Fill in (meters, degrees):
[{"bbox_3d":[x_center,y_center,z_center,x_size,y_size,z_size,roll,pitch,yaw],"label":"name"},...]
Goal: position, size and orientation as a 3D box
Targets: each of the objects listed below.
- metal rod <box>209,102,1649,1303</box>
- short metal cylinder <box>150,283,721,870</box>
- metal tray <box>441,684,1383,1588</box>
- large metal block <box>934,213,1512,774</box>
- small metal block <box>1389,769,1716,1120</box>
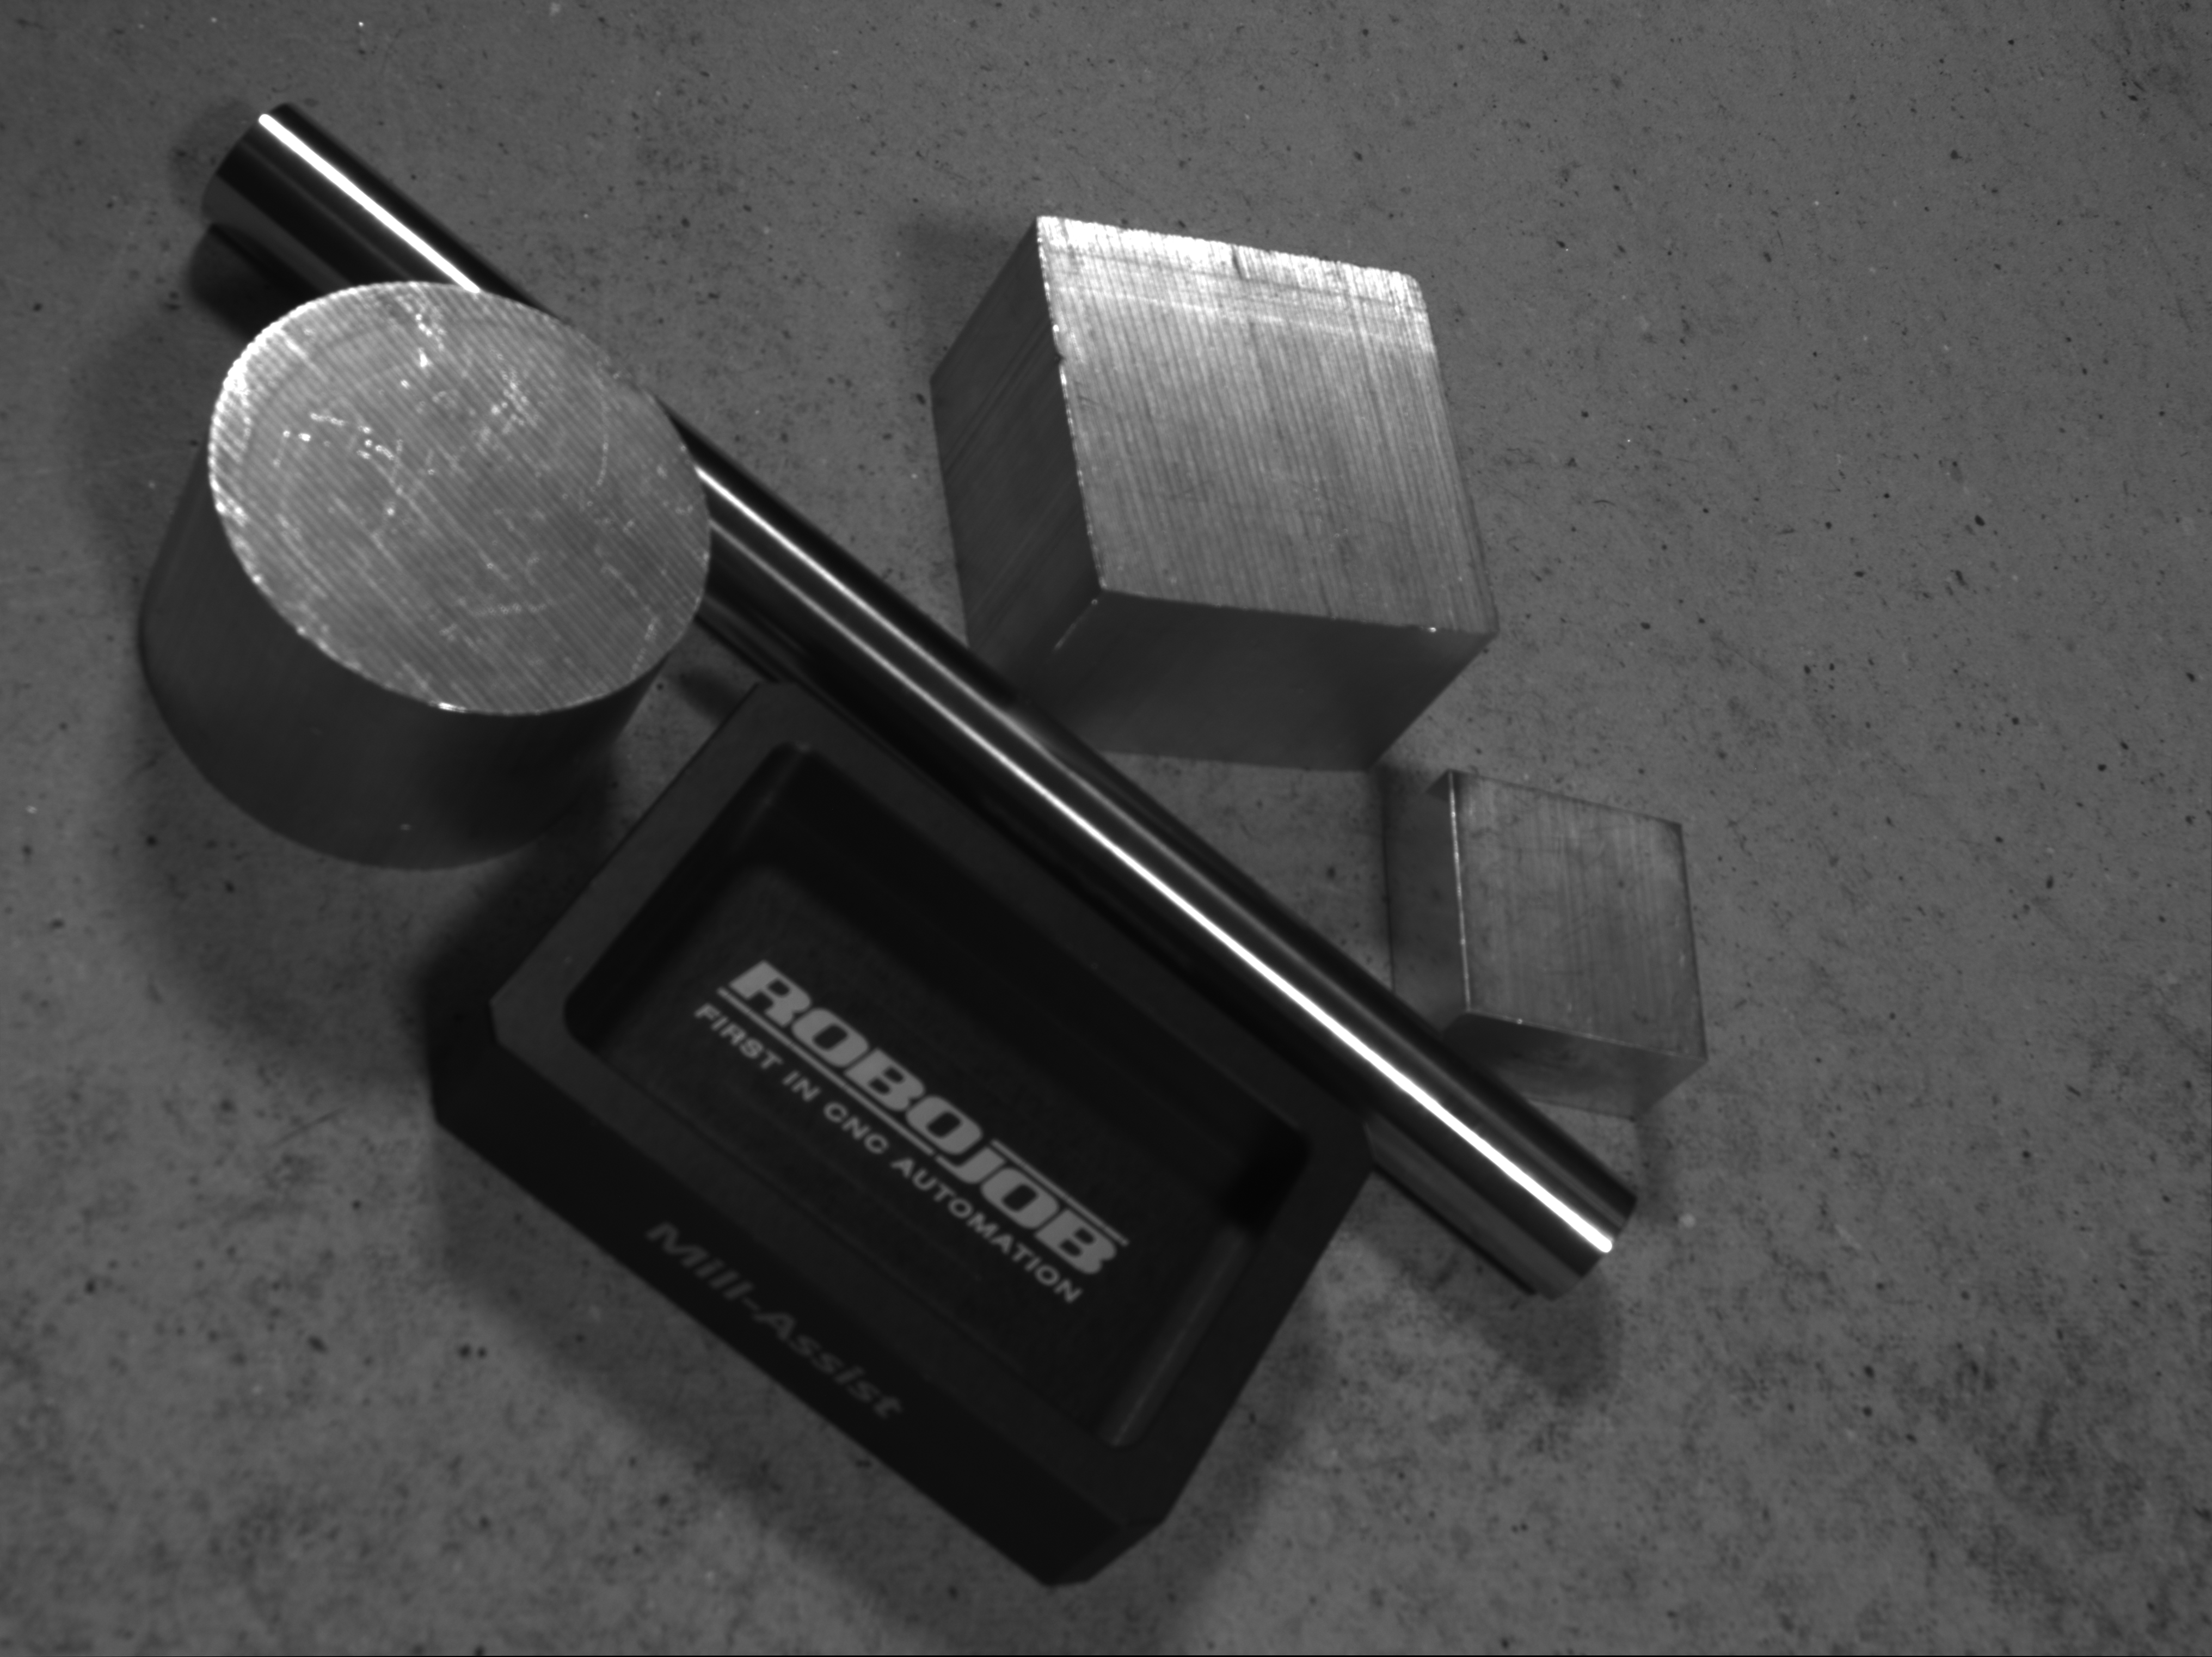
[{"bbox_3d":[-0.030,-0.021,0.636,0.300,0.025,0.025,39,51,-2],"label":"metal rod"},{"bbox_3d":[-0.108,-0.040,0.590,0.080,0.050,0.080,14,56,-21],"label":"short metal cylinder"},{"bbox_3d":[-0.029,0.048,0.592,0.130,0.030,0.090,38,51,-3],"label":"metal tray"},{"bbox_3d":[0.020,-0.060,0.671,0.080,0.050,0.080,4,60,-26],"label":"large metal block"},{"bbox_3d":[0.081,0.022,0.671,0.050,0.025,0.050,12,56,-21],"label":"small metal block"}]
